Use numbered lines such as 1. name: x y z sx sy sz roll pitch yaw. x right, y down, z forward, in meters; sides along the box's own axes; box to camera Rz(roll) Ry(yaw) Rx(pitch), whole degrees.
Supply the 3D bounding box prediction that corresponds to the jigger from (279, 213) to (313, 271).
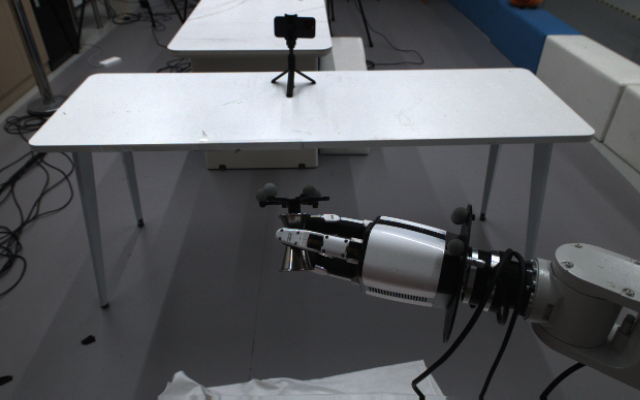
1. jigger: -0.030 0.051 0.589 0.043 0.071 0.043 -2 -7 0
